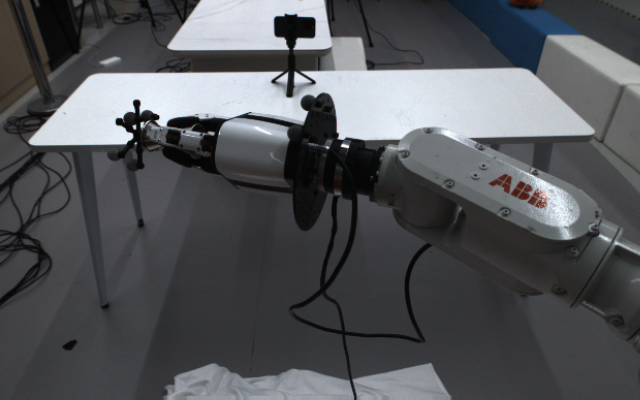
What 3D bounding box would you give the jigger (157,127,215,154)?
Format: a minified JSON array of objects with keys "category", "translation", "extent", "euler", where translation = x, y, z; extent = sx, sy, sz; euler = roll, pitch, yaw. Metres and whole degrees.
[{"category":"jigger","translation":[-0.179,-0.081,0.604],"extent":[0.071,0.043,0.043],"euler":[7,35,14]}]
